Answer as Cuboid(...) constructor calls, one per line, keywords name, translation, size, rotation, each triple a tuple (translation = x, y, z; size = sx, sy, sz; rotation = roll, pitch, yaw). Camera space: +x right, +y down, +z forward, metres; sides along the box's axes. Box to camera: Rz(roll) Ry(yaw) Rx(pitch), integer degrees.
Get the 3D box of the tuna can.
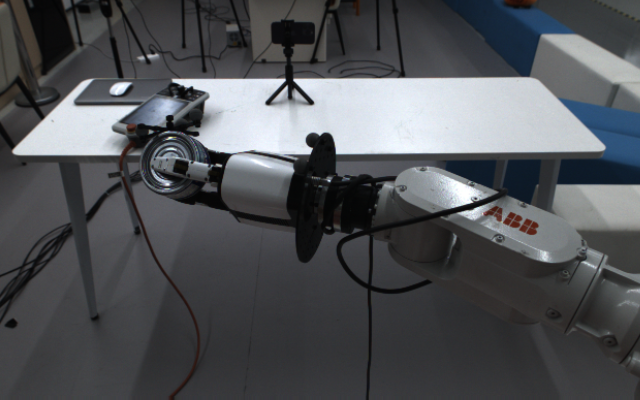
Cuboid(name="tuna can", translation=(-0.185, -0.040, 0.622), size=(0.085, 0.085, 0.034), rotation=(12, -6, 14))
